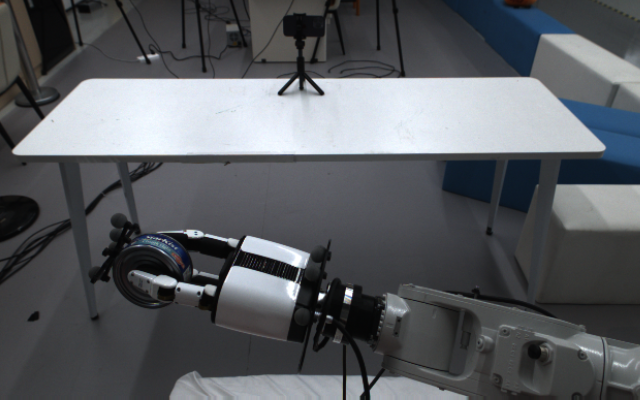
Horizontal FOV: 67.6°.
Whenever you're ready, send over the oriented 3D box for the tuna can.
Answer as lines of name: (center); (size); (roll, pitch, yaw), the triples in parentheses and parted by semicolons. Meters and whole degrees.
tuna can: (-0.192, 0.088, 0.564); (0.085, 0.085, 0.034); (4, 22, 2)
